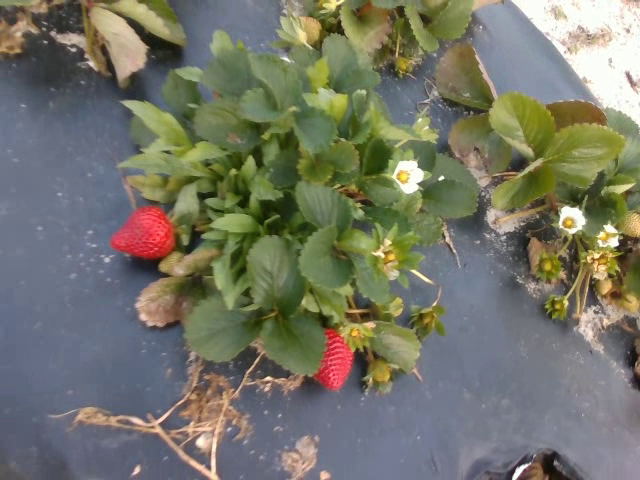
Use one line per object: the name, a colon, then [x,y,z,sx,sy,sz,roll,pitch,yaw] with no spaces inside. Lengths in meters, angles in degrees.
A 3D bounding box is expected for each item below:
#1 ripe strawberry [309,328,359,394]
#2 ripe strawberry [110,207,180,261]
ripe strawberry: [0.005,0.089,0.506,0.043,0.046,0.047,-15,-38,-2]
ripe strawberry: [-0.129,-0.003,0.504,0.050,0.043,0.042,-25,-9,-30]
